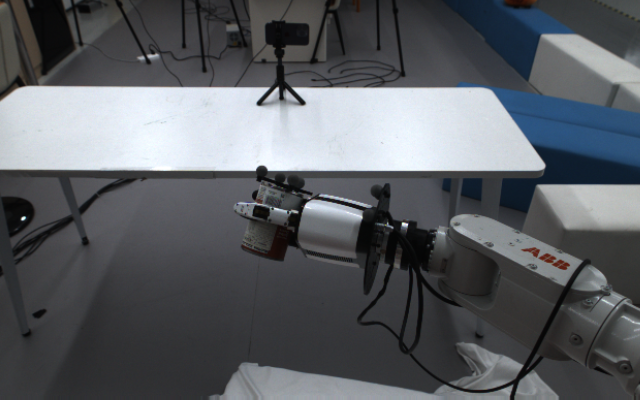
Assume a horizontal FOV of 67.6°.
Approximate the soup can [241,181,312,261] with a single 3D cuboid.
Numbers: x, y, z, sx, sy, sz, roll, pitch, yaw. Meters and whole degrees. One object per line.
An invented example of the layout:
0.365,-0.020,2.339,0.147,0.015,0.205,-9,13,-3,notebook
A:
-0.069,0.032,0.711,0.067,0.101,0.067,17,-1,0,soup can
